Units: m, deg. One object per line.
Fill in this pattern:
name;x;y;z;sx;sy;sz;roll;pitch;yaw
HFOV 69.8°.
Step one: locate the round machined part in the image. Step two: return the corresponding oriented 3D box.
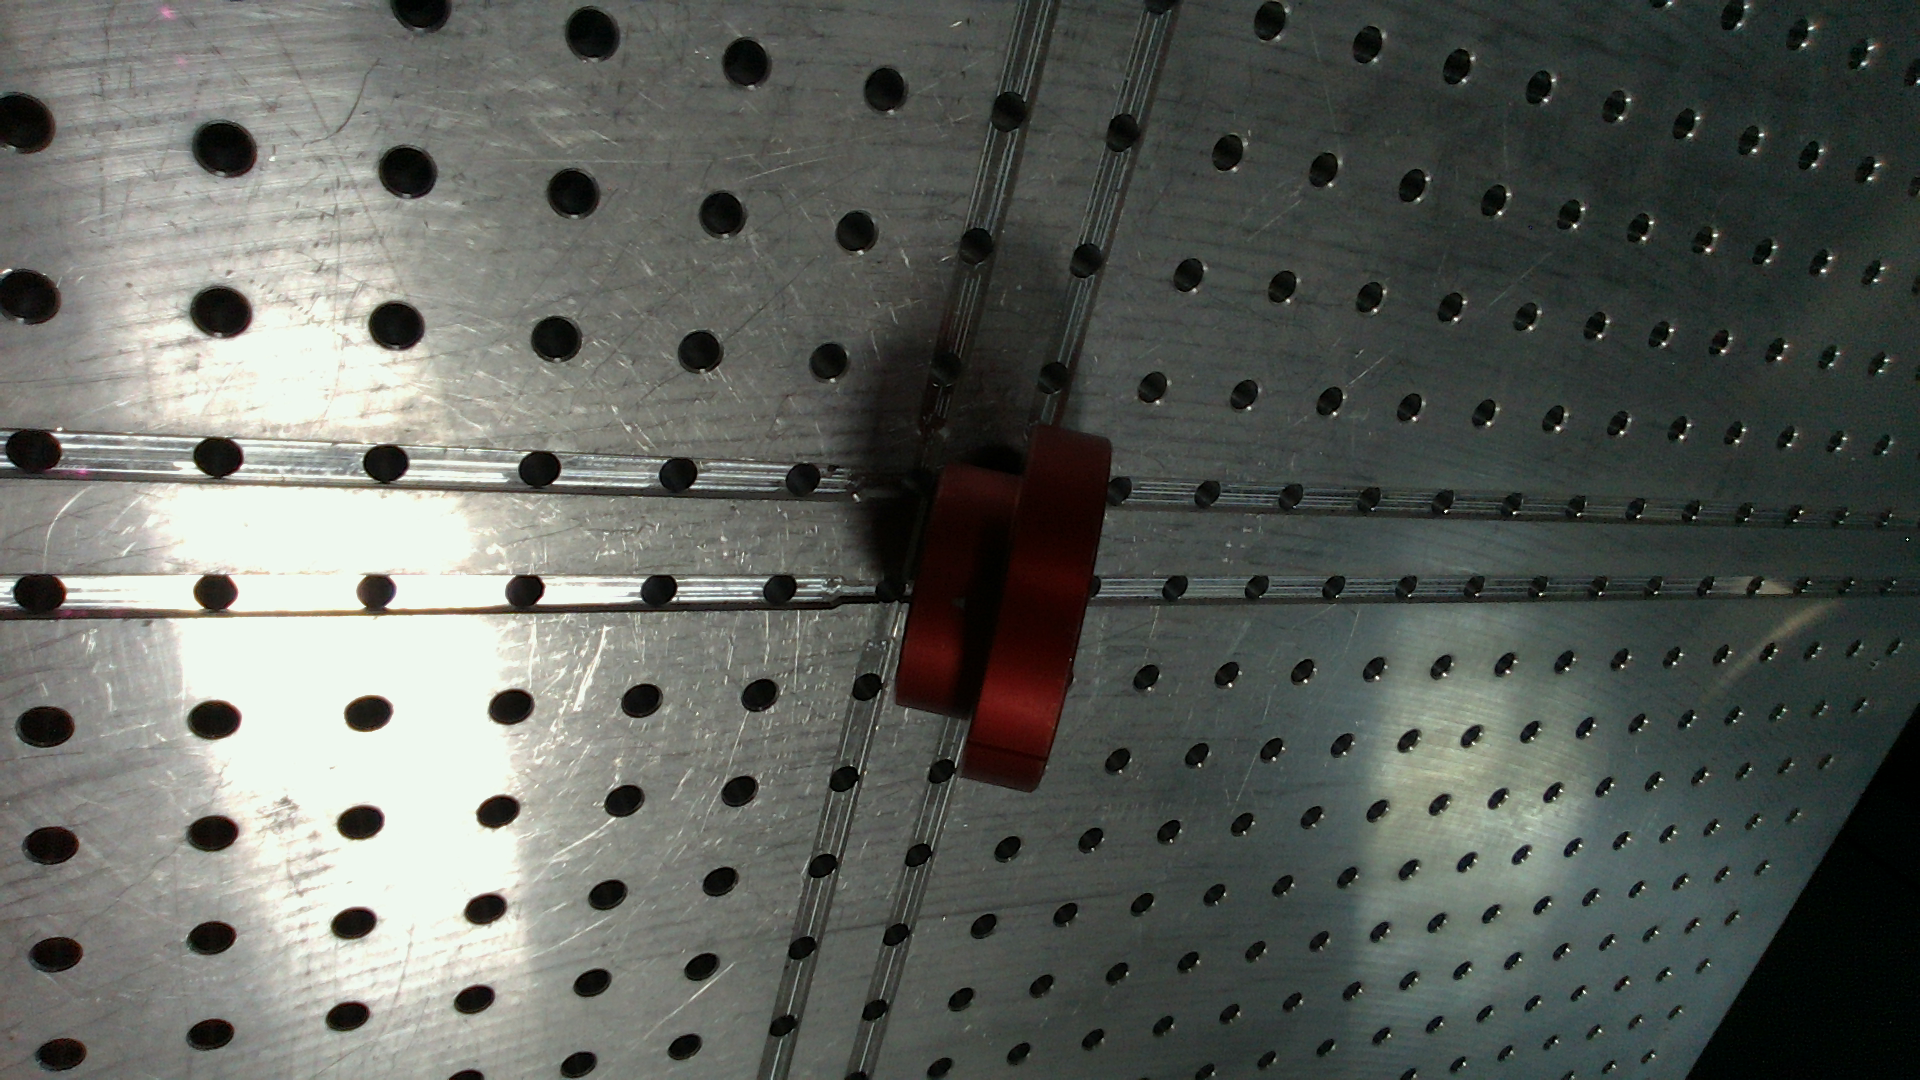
round machined part;0.010;0.016;0.371;0.042;0.098;0.098;12;116;1
